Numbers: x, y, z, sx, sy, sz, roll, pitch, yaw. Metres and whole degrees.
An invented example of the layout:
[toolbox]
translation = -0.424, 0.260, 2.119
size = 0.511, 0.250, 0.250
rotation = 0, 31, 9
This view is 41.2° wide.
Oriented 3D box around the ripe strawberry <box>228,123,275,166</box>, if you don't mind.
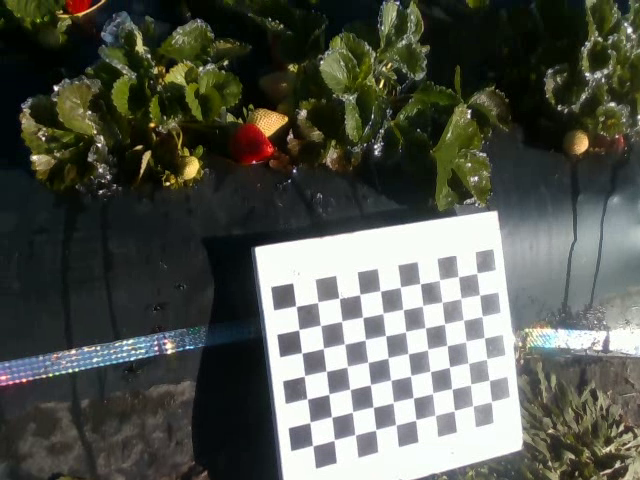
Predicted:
[ripe strawberry]
translation = -0.058, -0.086, 0.750
size = 0.053, 0.040, 0.042
rotation = 22, -28, 43
